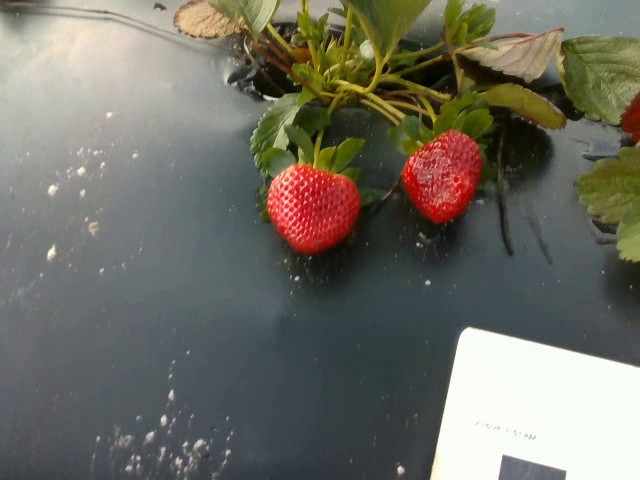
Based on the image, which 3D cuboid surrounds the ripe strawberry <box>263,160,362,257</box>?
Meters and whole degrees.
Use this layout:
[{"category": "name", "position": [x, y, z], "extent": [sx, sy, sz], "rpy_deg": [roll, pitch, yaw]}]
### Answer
[{"category": "ripe strawberry", "position": [-0.004, -0.013, 0.235], "extent": [0.050, 0.045, 0.061], "rpy_deg": [1, 40, 9]}]

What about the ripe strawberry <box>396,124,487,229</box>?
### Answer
[{"category": "ripe strawberry", "position": [0.060, -0.032, 0.241], "extent": [0.042, 0.034, 0.053], "rpy_deg": [-5, 42, 8]}]
